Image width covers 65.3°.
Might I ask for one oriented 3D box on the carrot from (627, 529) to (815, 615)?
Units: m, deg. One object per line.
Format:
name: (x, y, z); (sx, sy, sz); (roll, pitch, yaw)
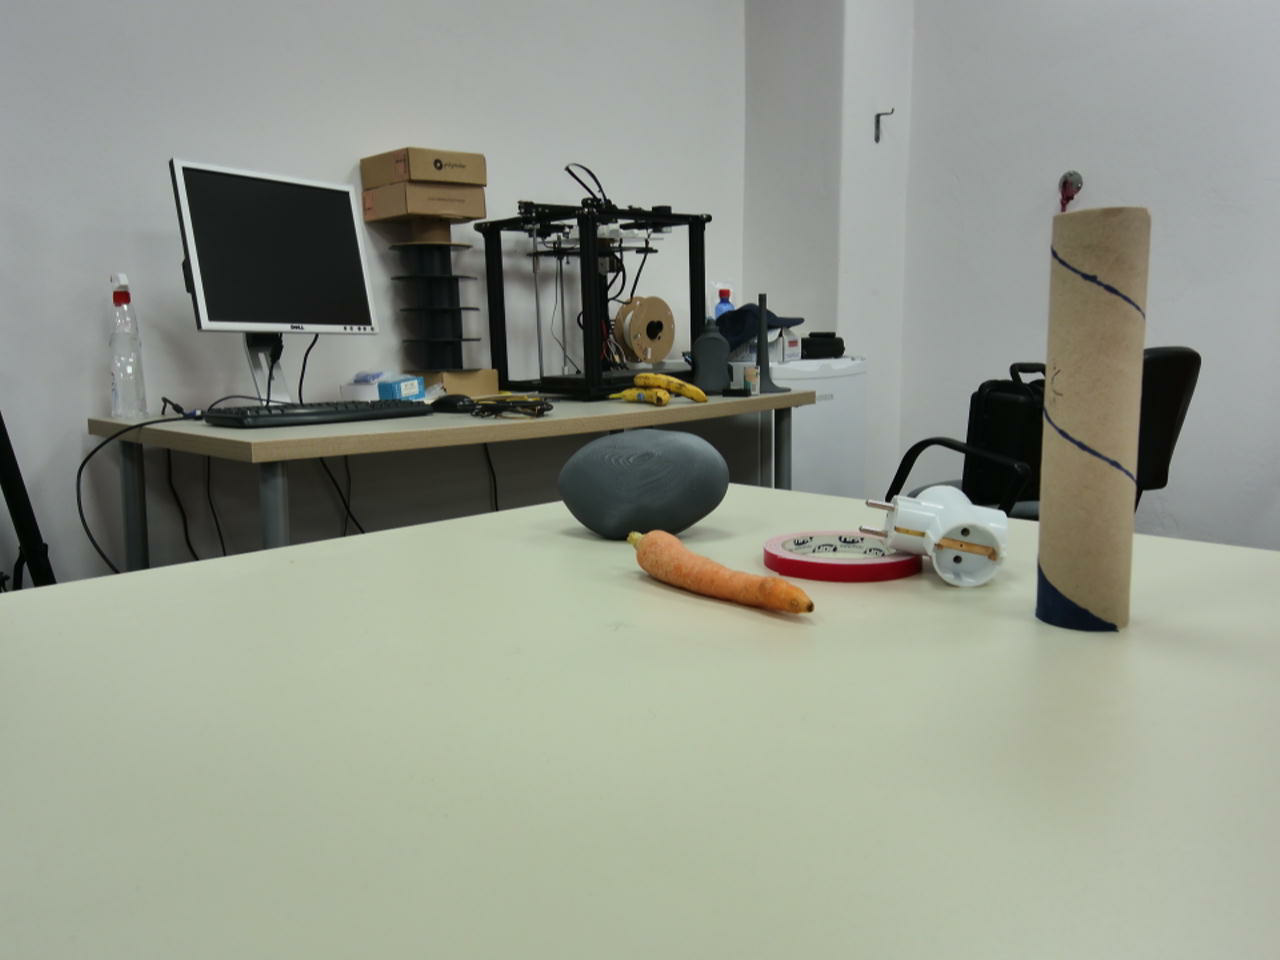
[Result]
carrot: (0.046, 0.057, 0.630); (0.030, 0.032, 0.173); (-4, 8, -34)
